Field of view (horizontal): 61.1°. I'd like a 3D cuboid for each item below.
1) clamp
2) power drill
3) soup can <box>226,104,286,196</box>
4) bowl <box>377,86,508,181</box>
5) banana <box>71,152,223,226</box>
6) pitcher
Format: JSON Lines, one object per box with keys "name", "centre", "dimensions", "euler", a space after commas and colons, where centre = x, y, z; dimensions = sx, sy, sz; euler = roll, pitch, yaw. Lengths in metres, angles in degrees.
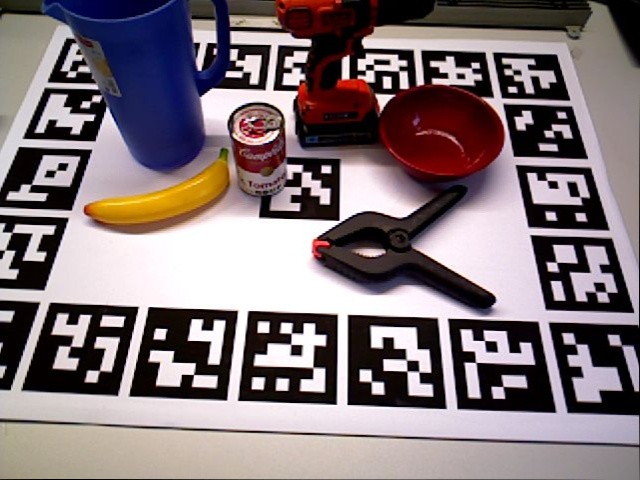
{"name": "clamp", "centre": [0.090, 0.004, 0.616], "dimensions": [0.202, 0.037, 0.163], "euler": [-1, 63, -1]}
{"name": "power drill", "centre": [0.044, -0.227, 0.652], "dimensions": [0.183, 0.191, 0.056], "euler": [-3, 58, -3]}
{"name": "soup can", "centre": [-0.075, -0.112, 0.656], "dimensions": [0.067, 0.104, 0.067], "euler": [0, 50, -1]}
{"name": "bowl", "centre": [0.150, -0.130, 0.693], "dimensions": [0.161, 0.056, 0.159], "euler": [0, 60, 0]}
{"name": "banana", "centre": [-0.200, -0.054, 0.660], "dimensions": [0.195, 0.039, 0.074], "euler": [-21, 52, -14]}
{"name": "pitcher", "centre": [-0.193, -0.206, 0.628], "dimensions": [0.186, 0.247, 0.132], "euler": [-20, 57, -13]}
